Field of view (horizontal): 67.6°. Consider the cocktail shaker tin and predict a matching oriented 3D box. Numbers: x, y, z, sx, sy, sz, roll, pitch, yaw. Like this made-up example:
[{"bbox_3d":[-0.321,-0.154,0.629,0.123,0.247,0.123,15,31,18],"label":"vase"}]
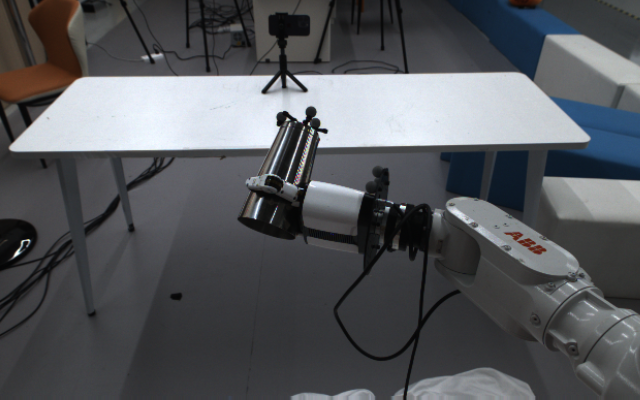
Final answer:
[{"bbox_3d":[-0.059,-0.034,0.753,0.093,0.093,0.170,14,72,16],"label":"cocktail shaker tin"}]
